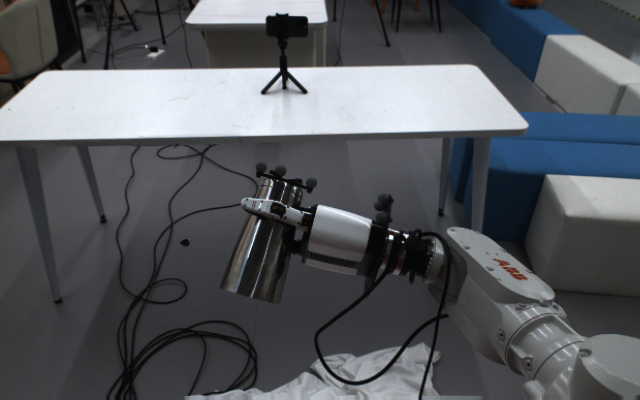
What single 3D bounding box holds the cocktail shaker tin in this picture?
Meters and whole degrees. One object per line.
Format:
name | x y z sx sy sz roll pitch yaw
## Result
cocktail shaker tin | -0.077 0.057 0.719 0.093 0.093 0.170 13 79 15
